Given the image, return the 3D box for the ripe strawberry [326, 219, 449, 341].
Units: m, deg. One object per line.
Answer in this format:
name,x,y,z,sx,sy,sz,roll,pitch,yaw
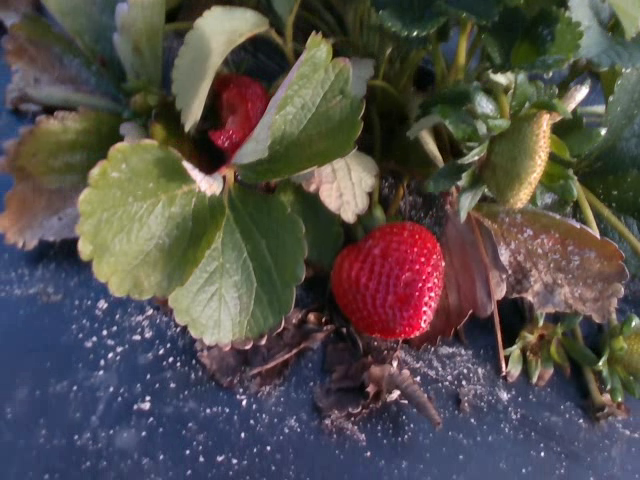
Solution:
ripe strawberry,0.015,0.011,0.147,0.031,0.025,0.030,-9,44,-7
